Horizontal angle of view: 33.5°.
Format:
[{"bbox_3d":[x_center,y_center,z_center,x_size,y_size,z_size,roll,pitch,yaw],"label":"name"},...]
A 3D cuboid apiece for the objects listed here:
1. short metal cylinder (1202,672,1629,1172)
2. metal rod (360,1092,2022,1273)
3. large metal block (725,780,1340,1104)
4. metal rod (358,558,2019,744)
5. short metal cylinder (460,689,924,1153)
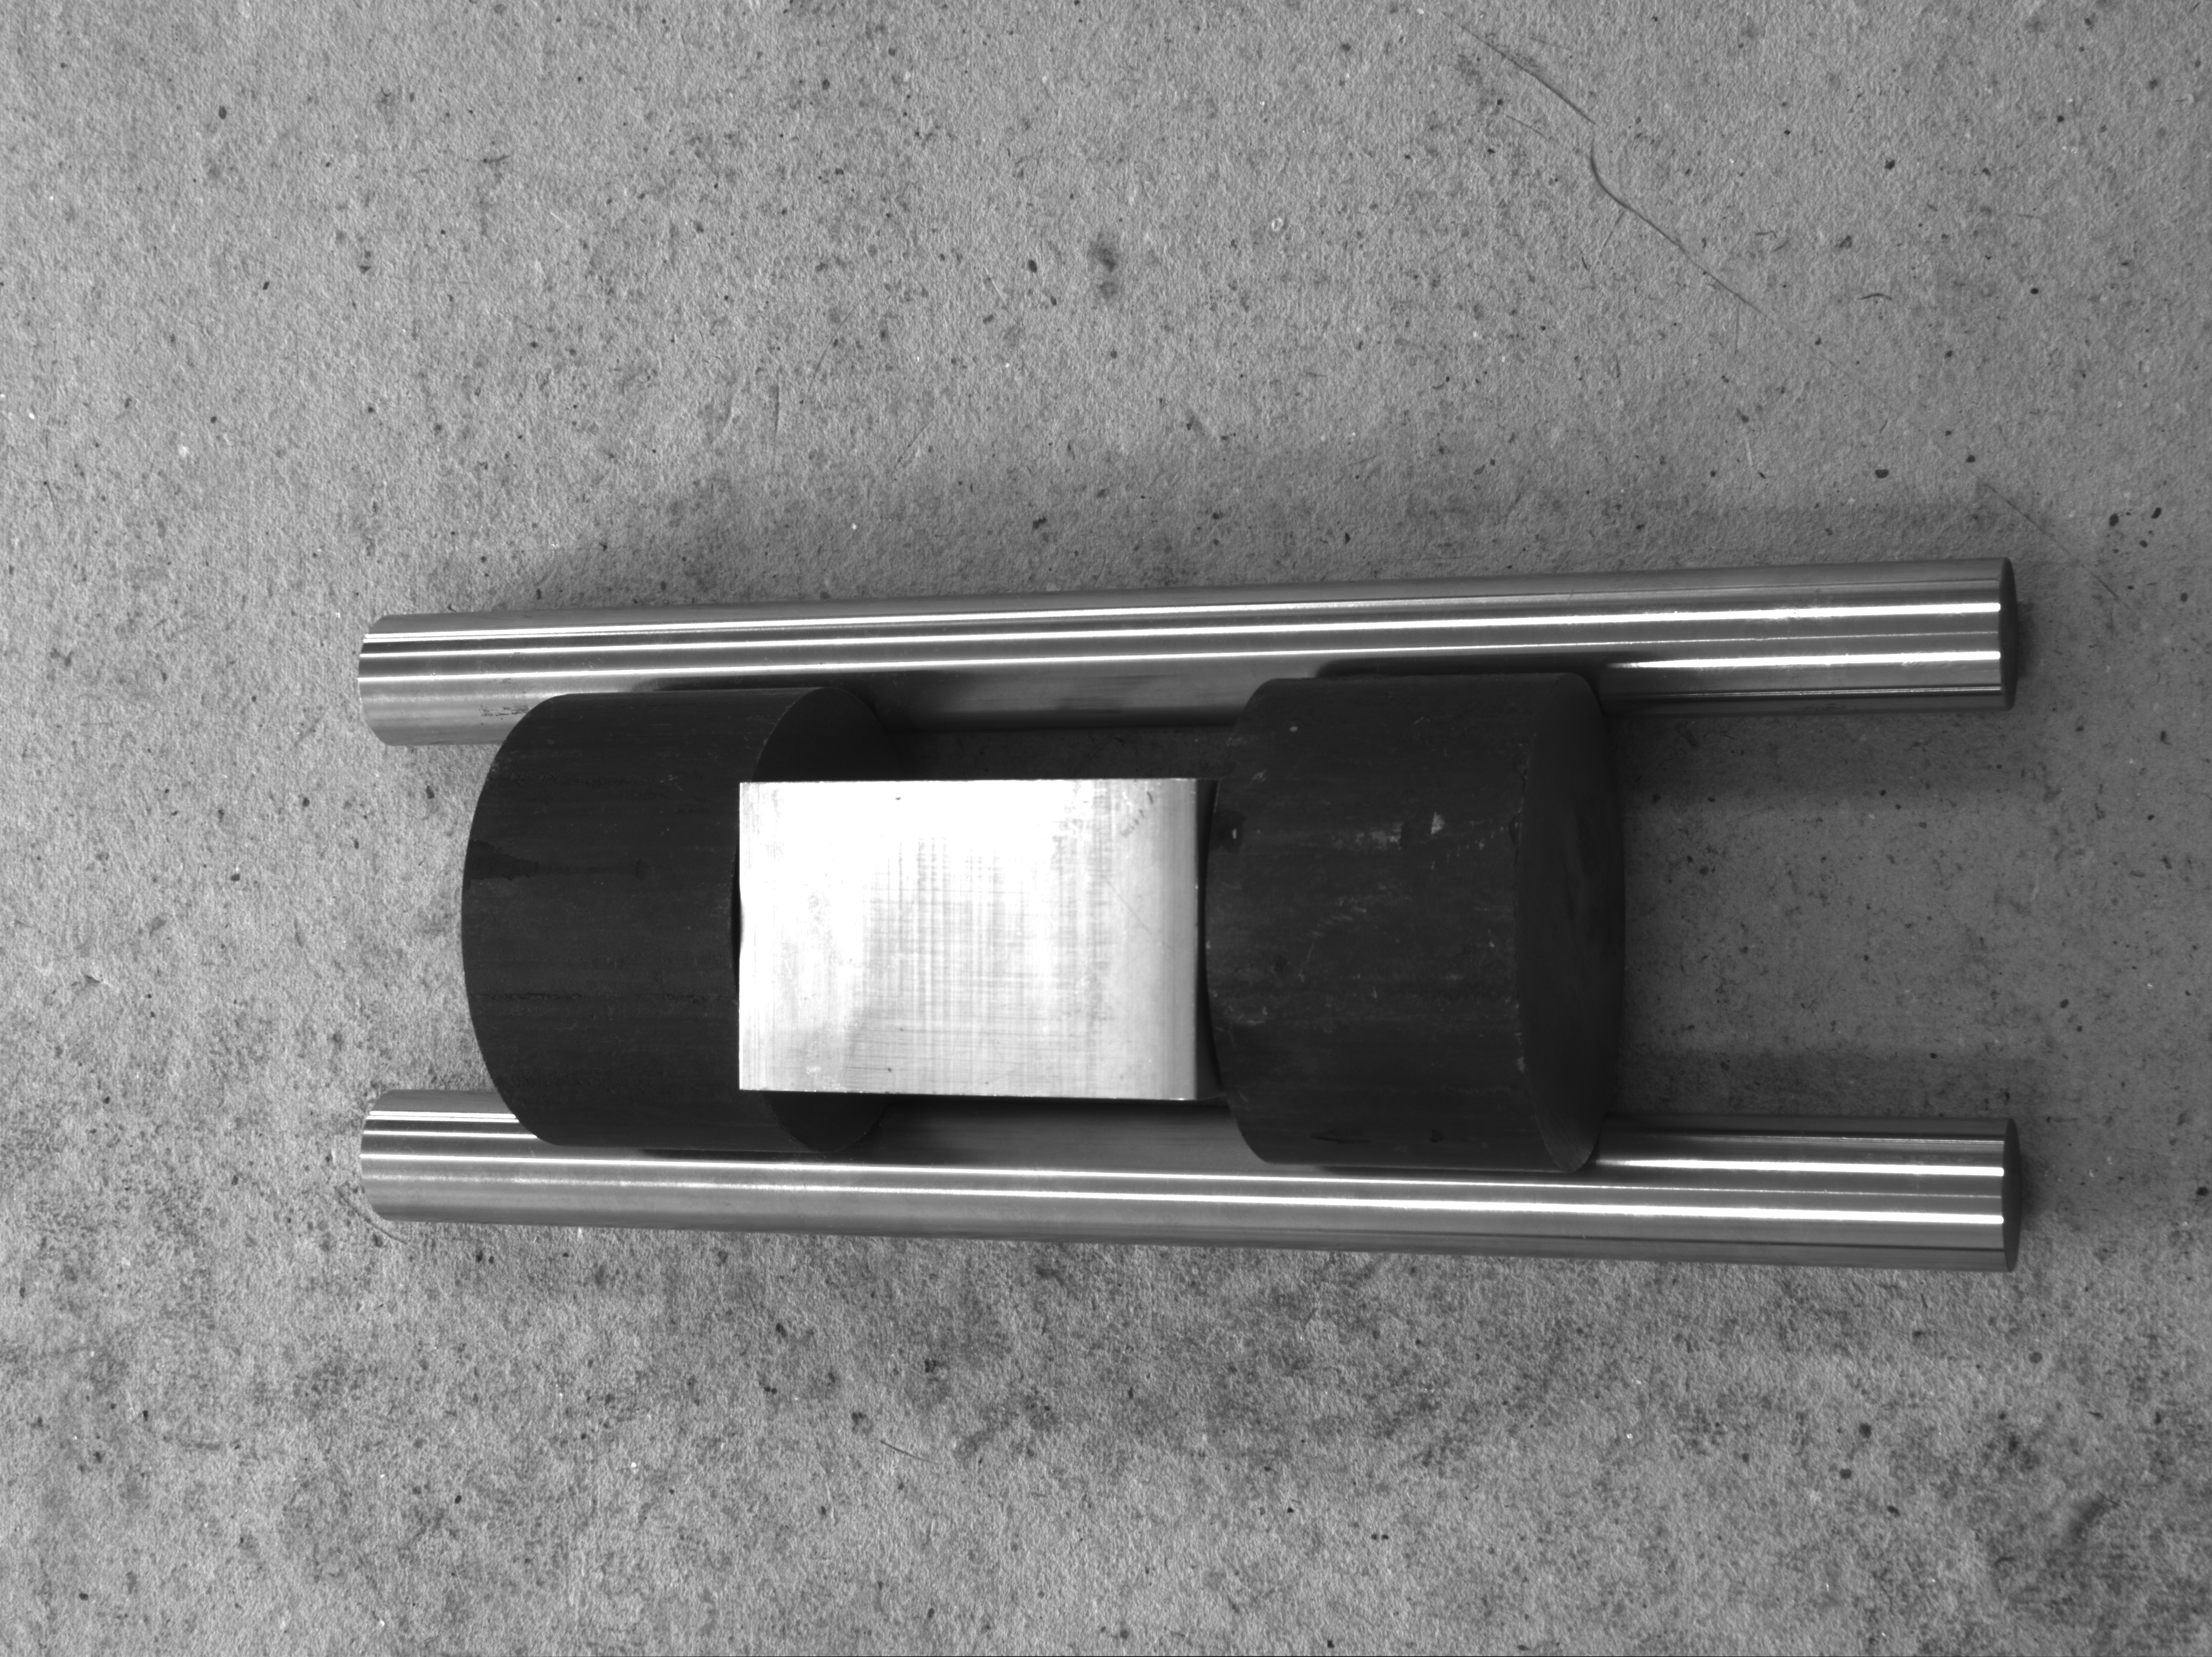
[{"bbox_3d":[0.052,0.015,0.598,0.050,0.080,0.080,-1,90,20],"label":"short metal cylinder"},{"bbox_3d":[0.006,0.061,0.645,0.299,0.025,0.025,-1,90,20],"label":"metal rod"},{"bbox_3d":[-0.010,0.018,0.619,0.080,0.080,0.050,0,90,20],"label":"large metal block"},{"bbox_3d":[0.006,-0.030,0.645,0.299,0.025,0.025,-1,90,20],"label":"metal rod"},{"bbox_3d":[-0.071,0.016,0.643,0.050,0.080,0.080,-1,90,20],"label":"short metal cylinder"}]
